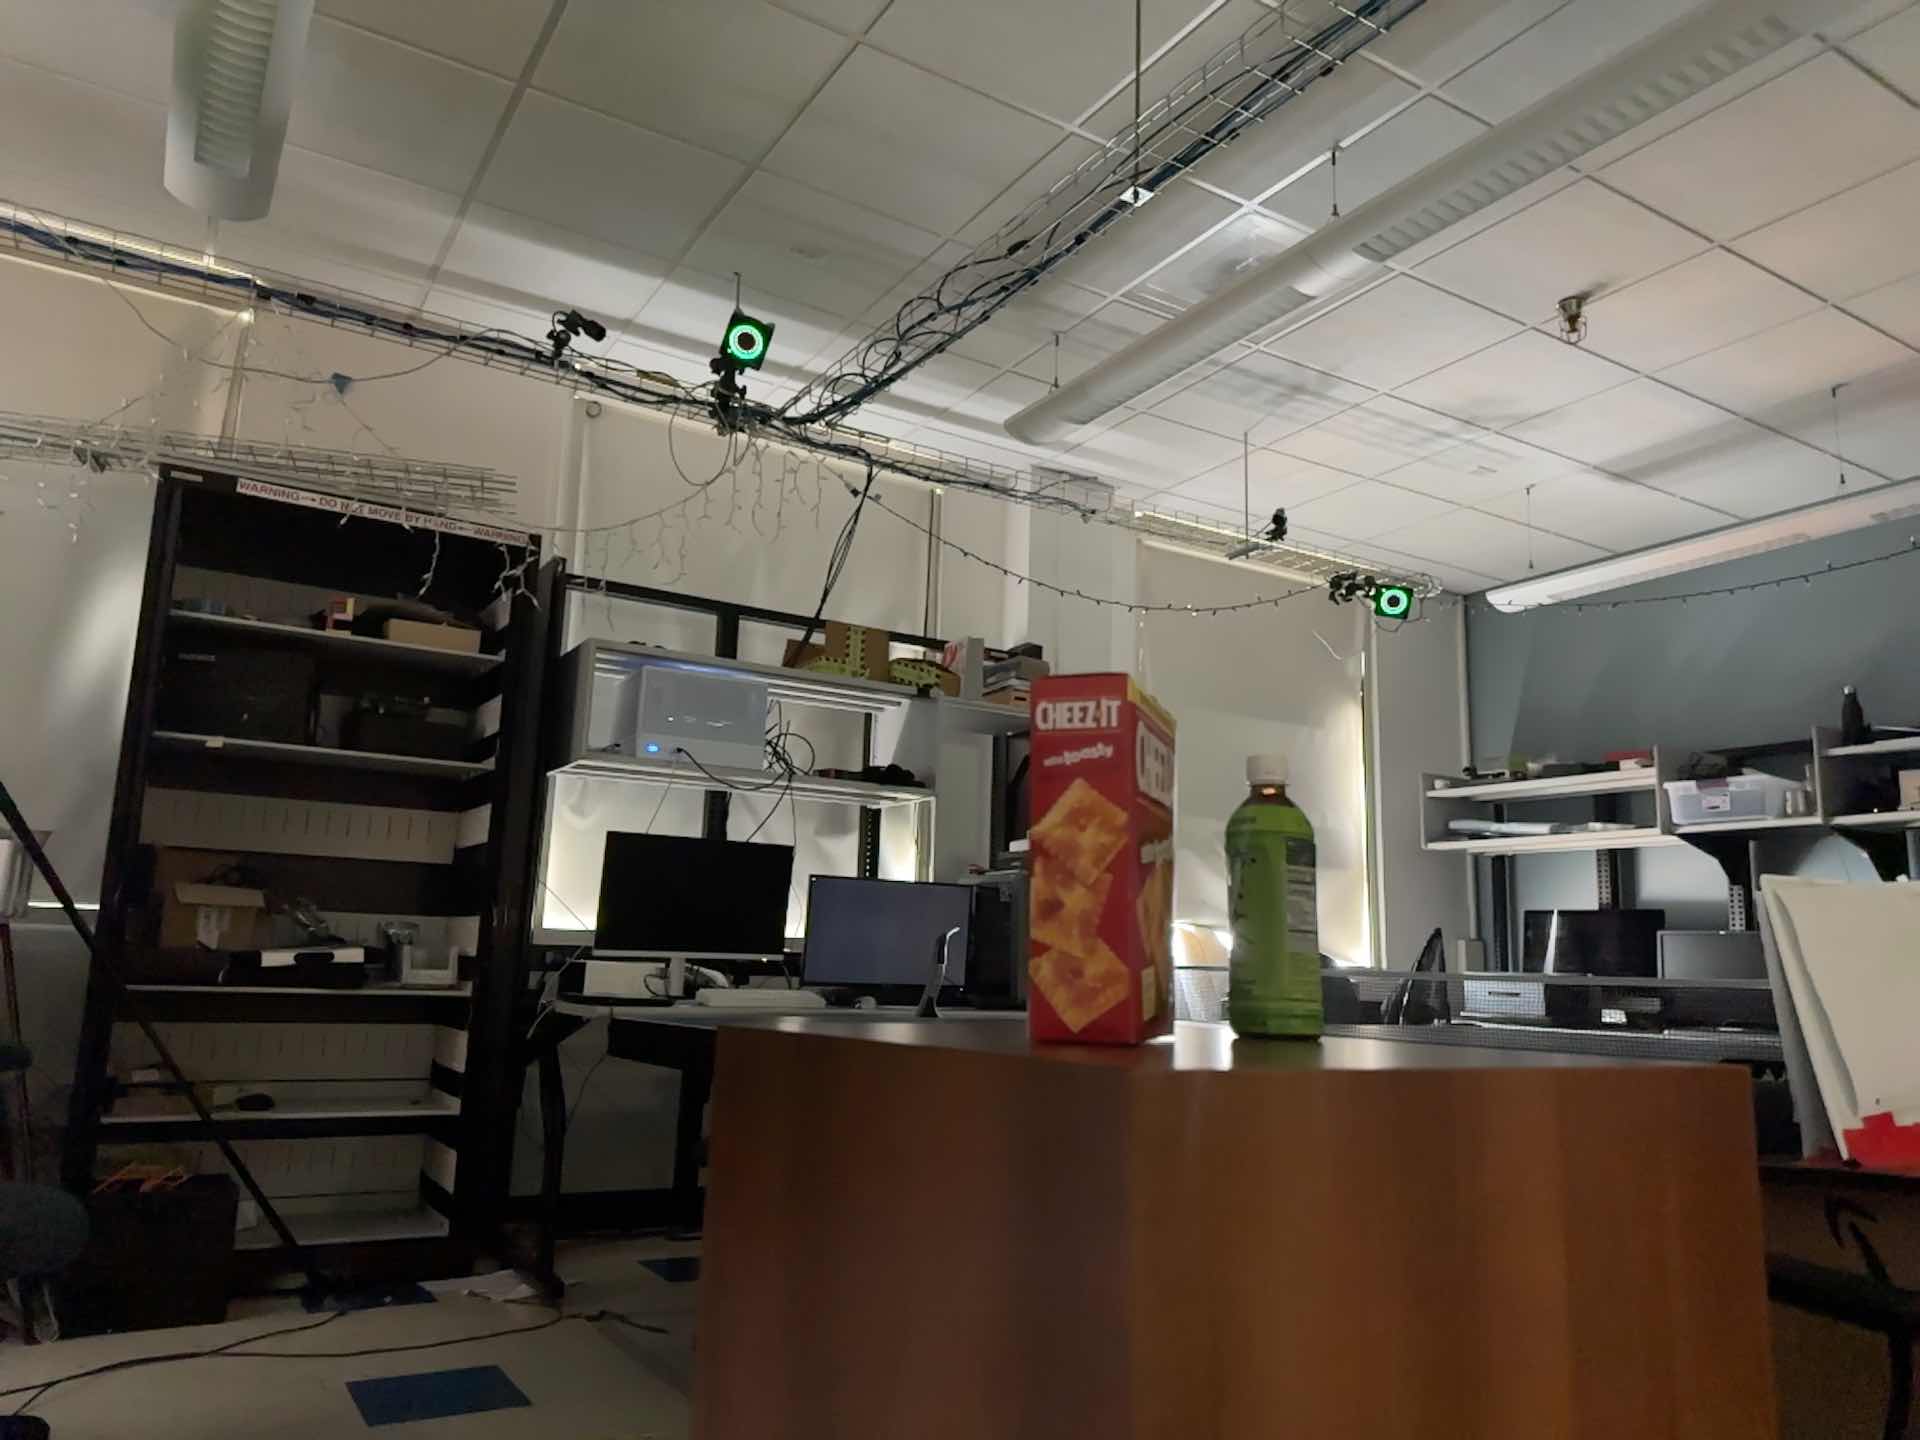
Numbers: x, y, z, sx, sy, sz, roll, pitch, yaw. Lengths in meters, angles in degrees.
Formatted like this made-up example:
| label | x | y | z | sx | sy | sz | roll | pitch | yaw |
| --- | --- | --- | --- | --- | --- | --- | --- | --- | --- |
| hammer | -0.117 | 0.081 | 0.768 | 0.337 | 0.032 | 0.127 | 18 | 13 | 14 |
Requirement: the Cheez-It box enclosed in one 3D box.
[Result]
| label | x | y | z | sx | sy | sz | roll | pitch | yaw |
| --- | --- | --- | --- | --- | --- | --- | --- | --- | --- |
| Cheez-It box | 0.096 | 0.088 | 0.839 | 0.062 | 0.214 | 0.159 | -1 | -9 | 16 |

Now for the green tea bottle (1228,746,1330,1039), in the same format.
| label | x | y | z | sx | sy | sz | roll | pitch | yaw |
| --- | --- | --- | --- | --- | --- | --- | --- | --- | --- |
| green tea bottle | 0.235 | 0.125 | 0.994 | 0.073 | 0.212 | 0.073 | 2 | -10 | 0 |
